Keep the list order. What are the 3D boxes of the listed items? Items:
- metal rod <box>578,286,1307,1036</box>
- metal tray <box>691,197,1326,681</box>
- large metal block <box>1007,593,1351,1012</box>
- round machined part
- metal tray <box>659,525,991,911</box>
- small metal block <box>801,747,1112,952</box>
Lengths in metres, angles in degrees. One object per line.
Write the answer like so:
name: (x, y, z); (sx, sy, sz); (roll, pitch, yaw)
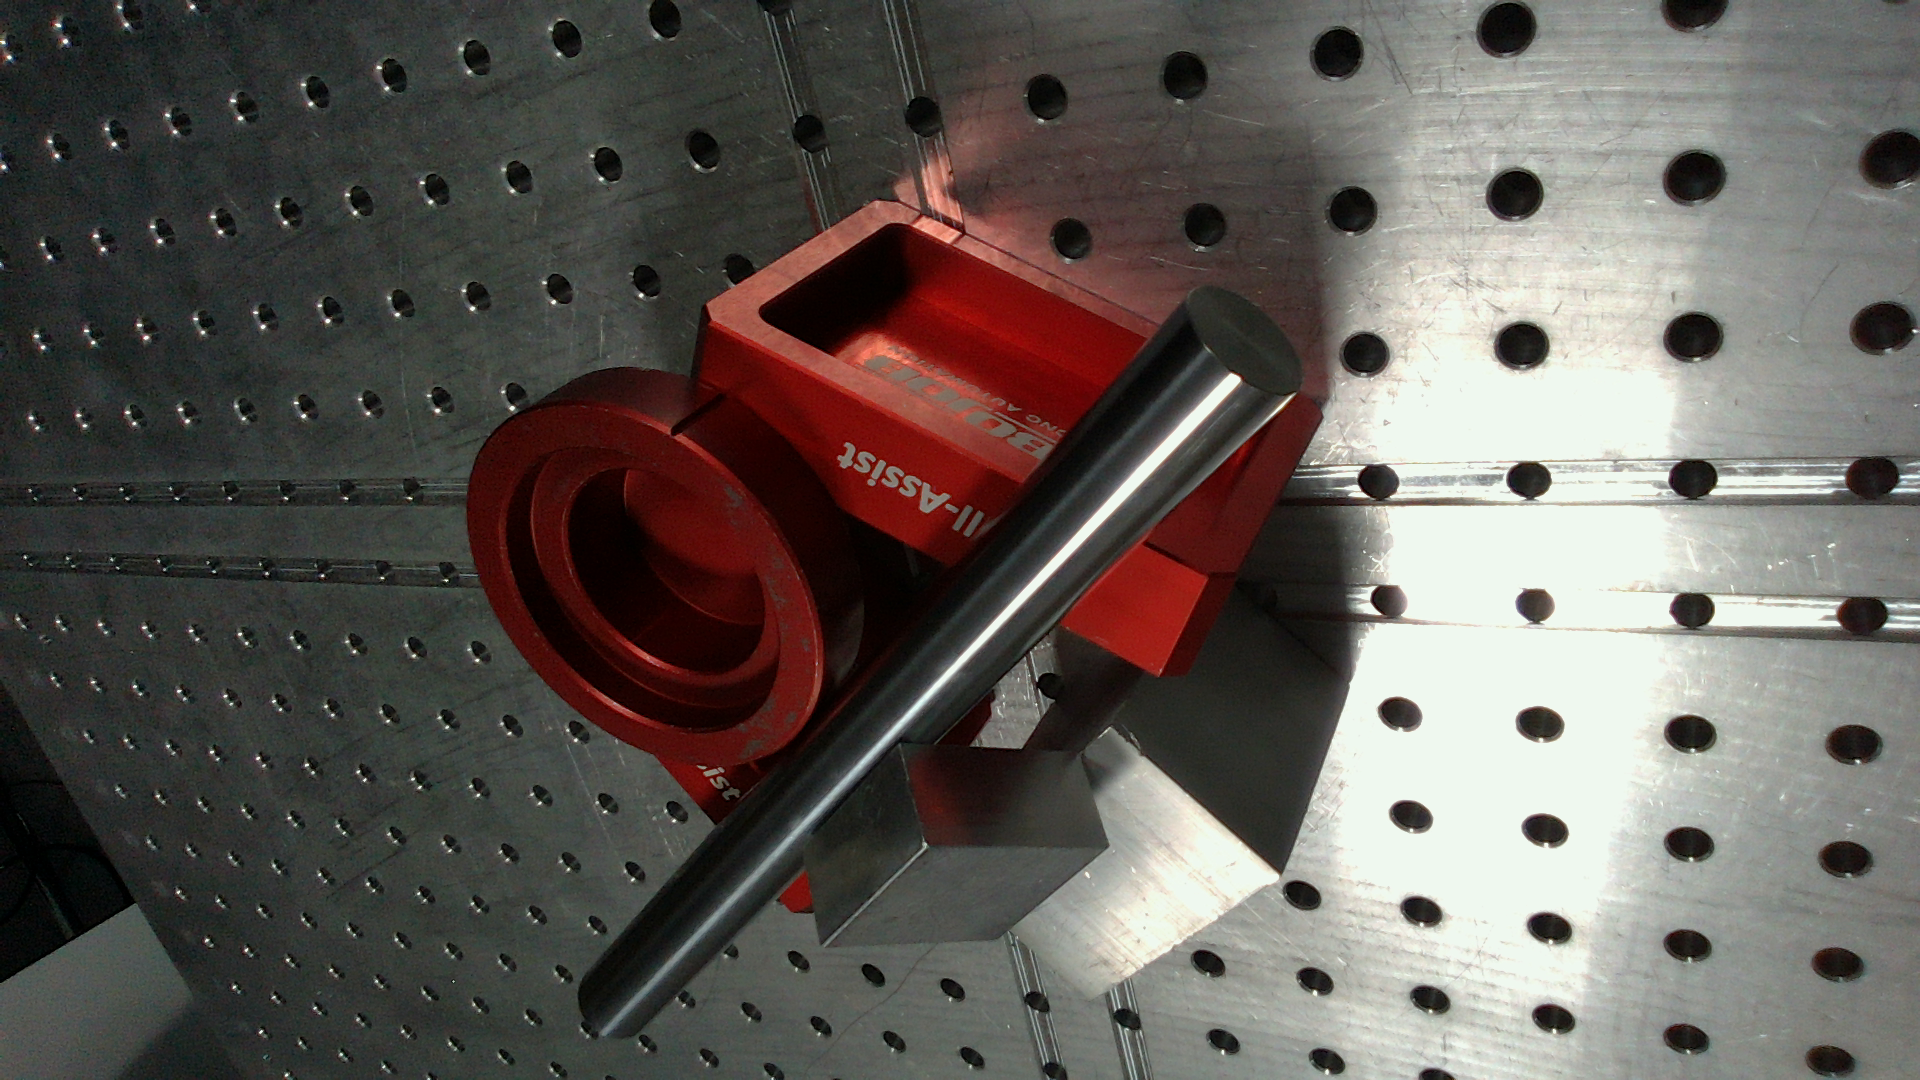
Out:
metal rod: (-0.028, 0.053, 0.327); (0.025, 0.025, 0.299); (41, 129, 0)
metal tray: (0.013, -0.030, 0.327); (0.130, 0.090, 0.030); (28, 129, 11)
large metal block: (0.051, 0.066, 0.370); (0.050, 0.080, 0.080); (41, 129, 0)
round machined part: (-0.066, 0.003, 0.333); (0.098, 0.042, 0.098); (13, 124, 21)
metal tray: (-0.057, 0.030, 0.403); (0.030, 0.090, 0.130); (-33, 100, 38)
small metal block: (-0.002, 0.072, 0.320); (0.050, 0.050, 0.025); (-50, 44, 39)
